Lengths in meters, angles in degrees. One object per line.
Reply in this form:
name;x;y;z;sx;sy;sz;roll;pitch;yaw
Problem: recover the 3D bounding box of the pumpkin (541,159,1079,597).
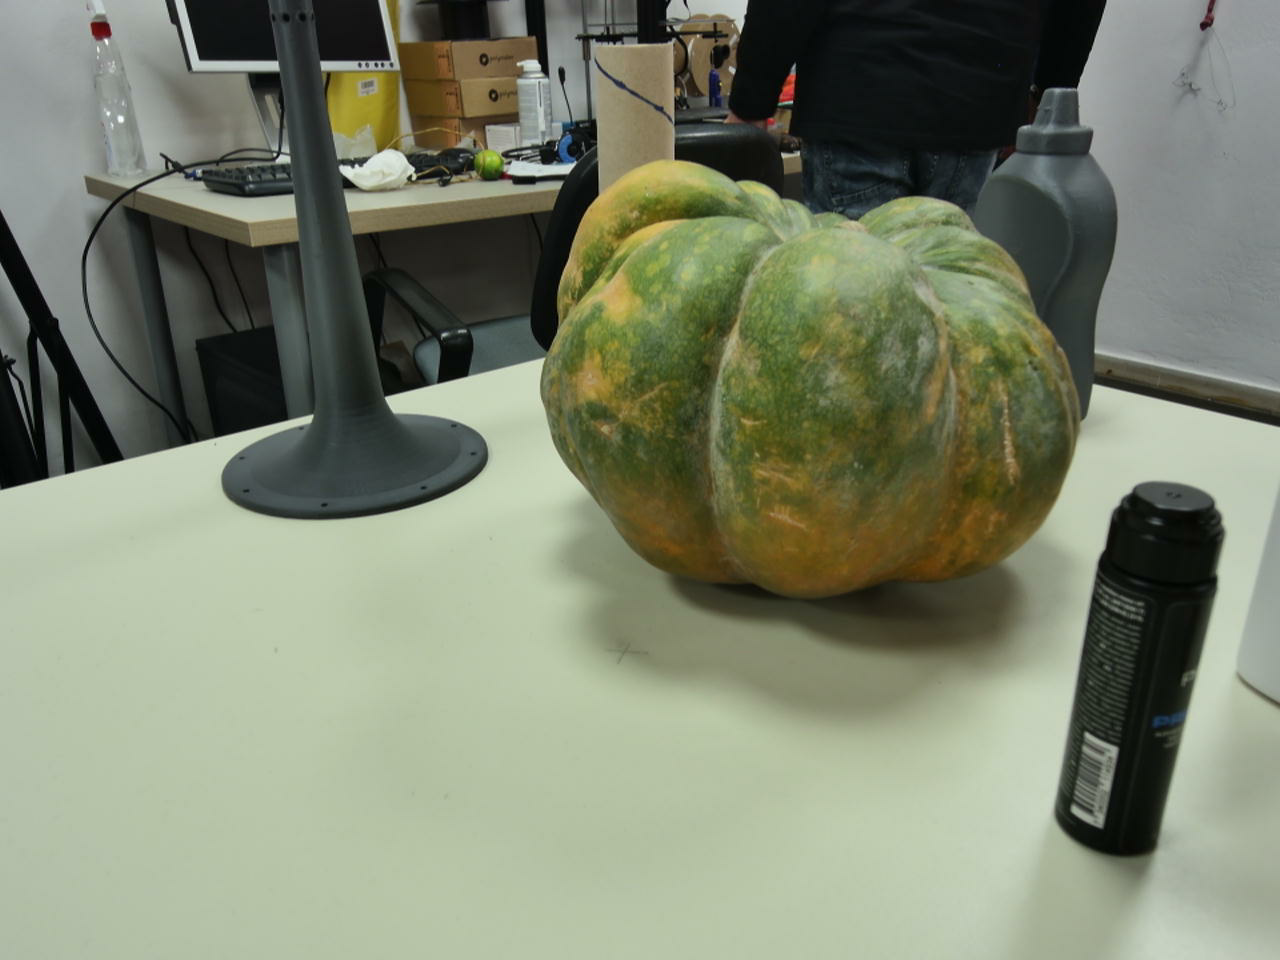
pumpkin;0.076;-0.051;0.461;0.237;0.173;0.270;-1;22;-1
